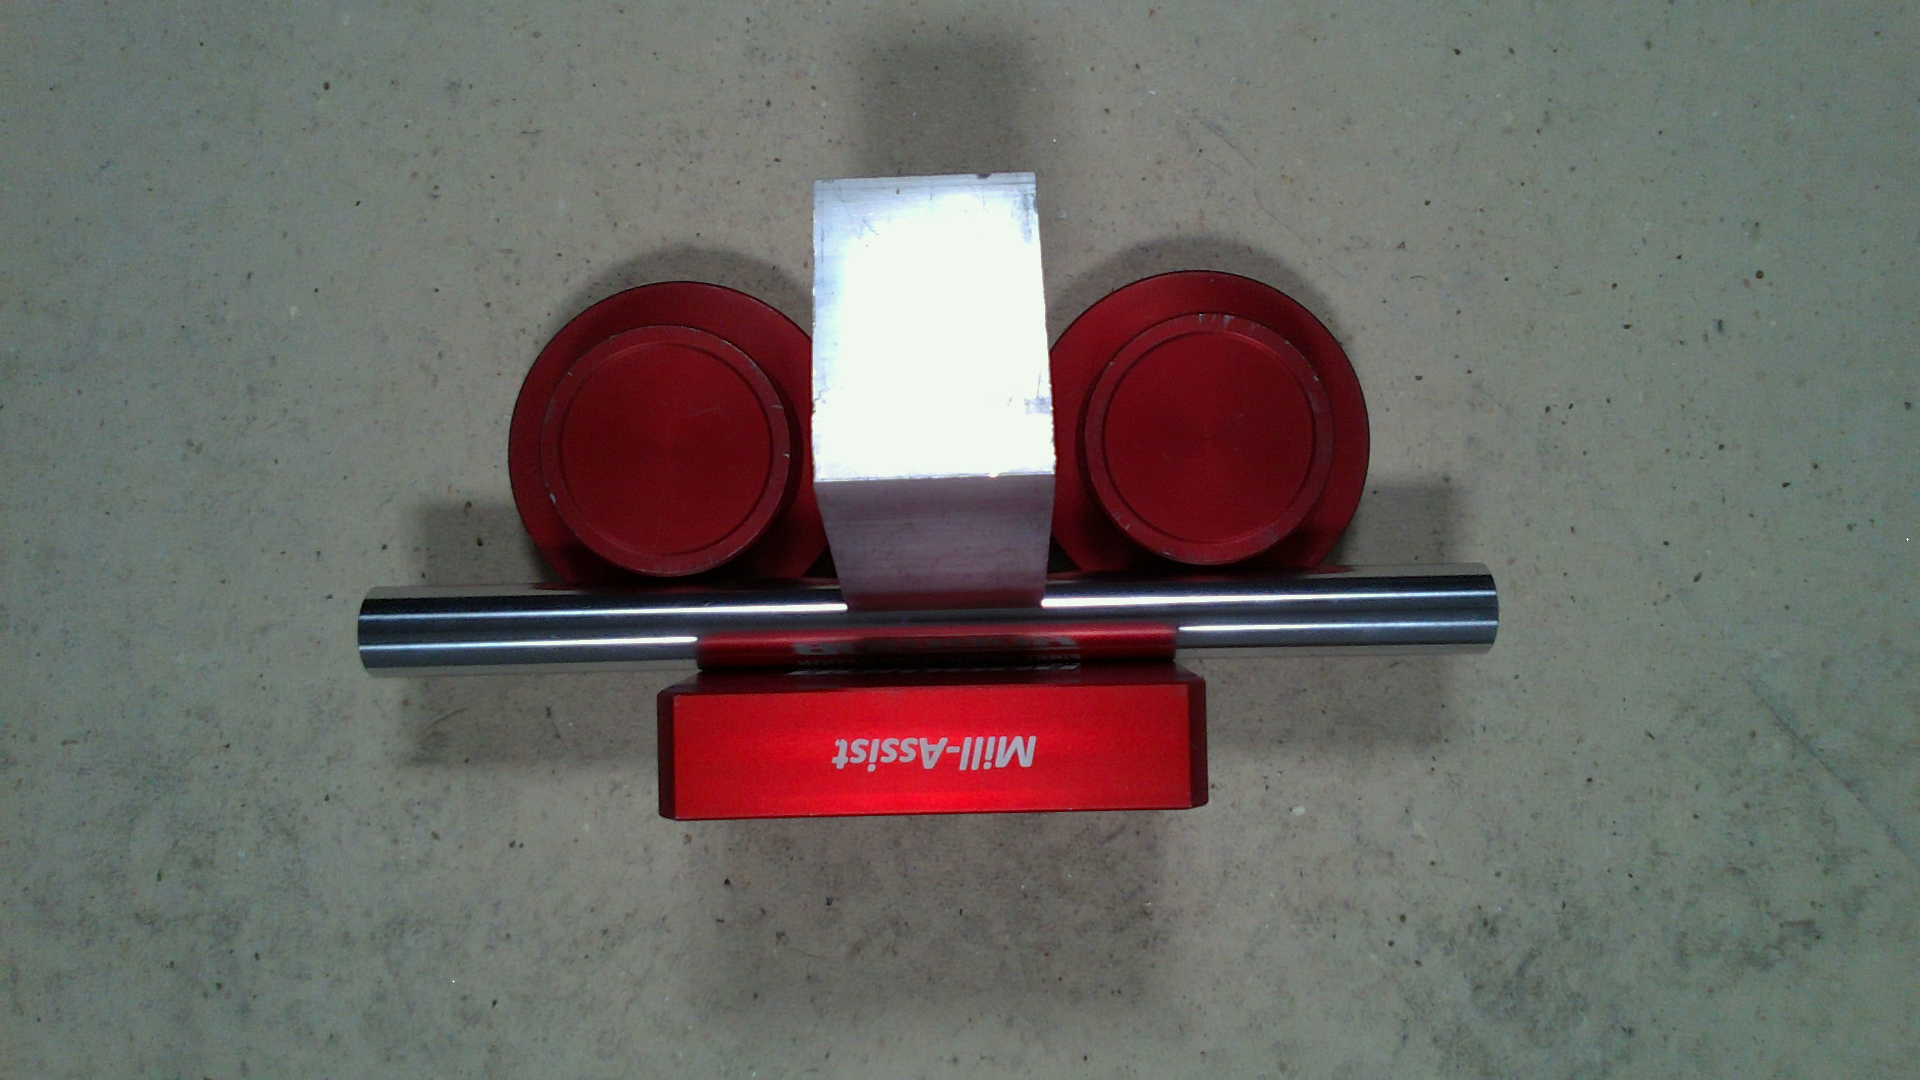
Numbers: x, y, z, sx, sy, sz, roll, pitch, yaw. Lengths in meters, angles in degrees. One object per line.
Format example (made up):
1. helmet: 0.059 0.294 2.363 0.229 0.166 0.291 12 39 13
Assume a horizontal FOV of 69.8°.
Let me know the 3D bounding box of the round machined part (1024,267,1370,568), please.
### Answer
1. round machined part: 0.067 -0.028 0.386 0.098 0.042 0.098 0 90 0

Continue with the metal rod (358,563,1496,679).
1. metal rod: -0.008 0.022 0.375 0.300 0.025 0.025 -1 90 0

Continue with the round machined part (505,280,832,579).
1. round machined part: -0.079 -0.024 0.385 0.098 0.042 0.098 0 90 0

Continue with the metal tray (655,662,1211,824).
1. metal tray: -0.006 0.049 0.363 0.130 0.090 0.030 -1 90 0

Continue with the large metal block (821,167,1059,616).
1. large metal block: -0.005 -0.033 0.341 0.050 0.080 0.080 -2 67 0
